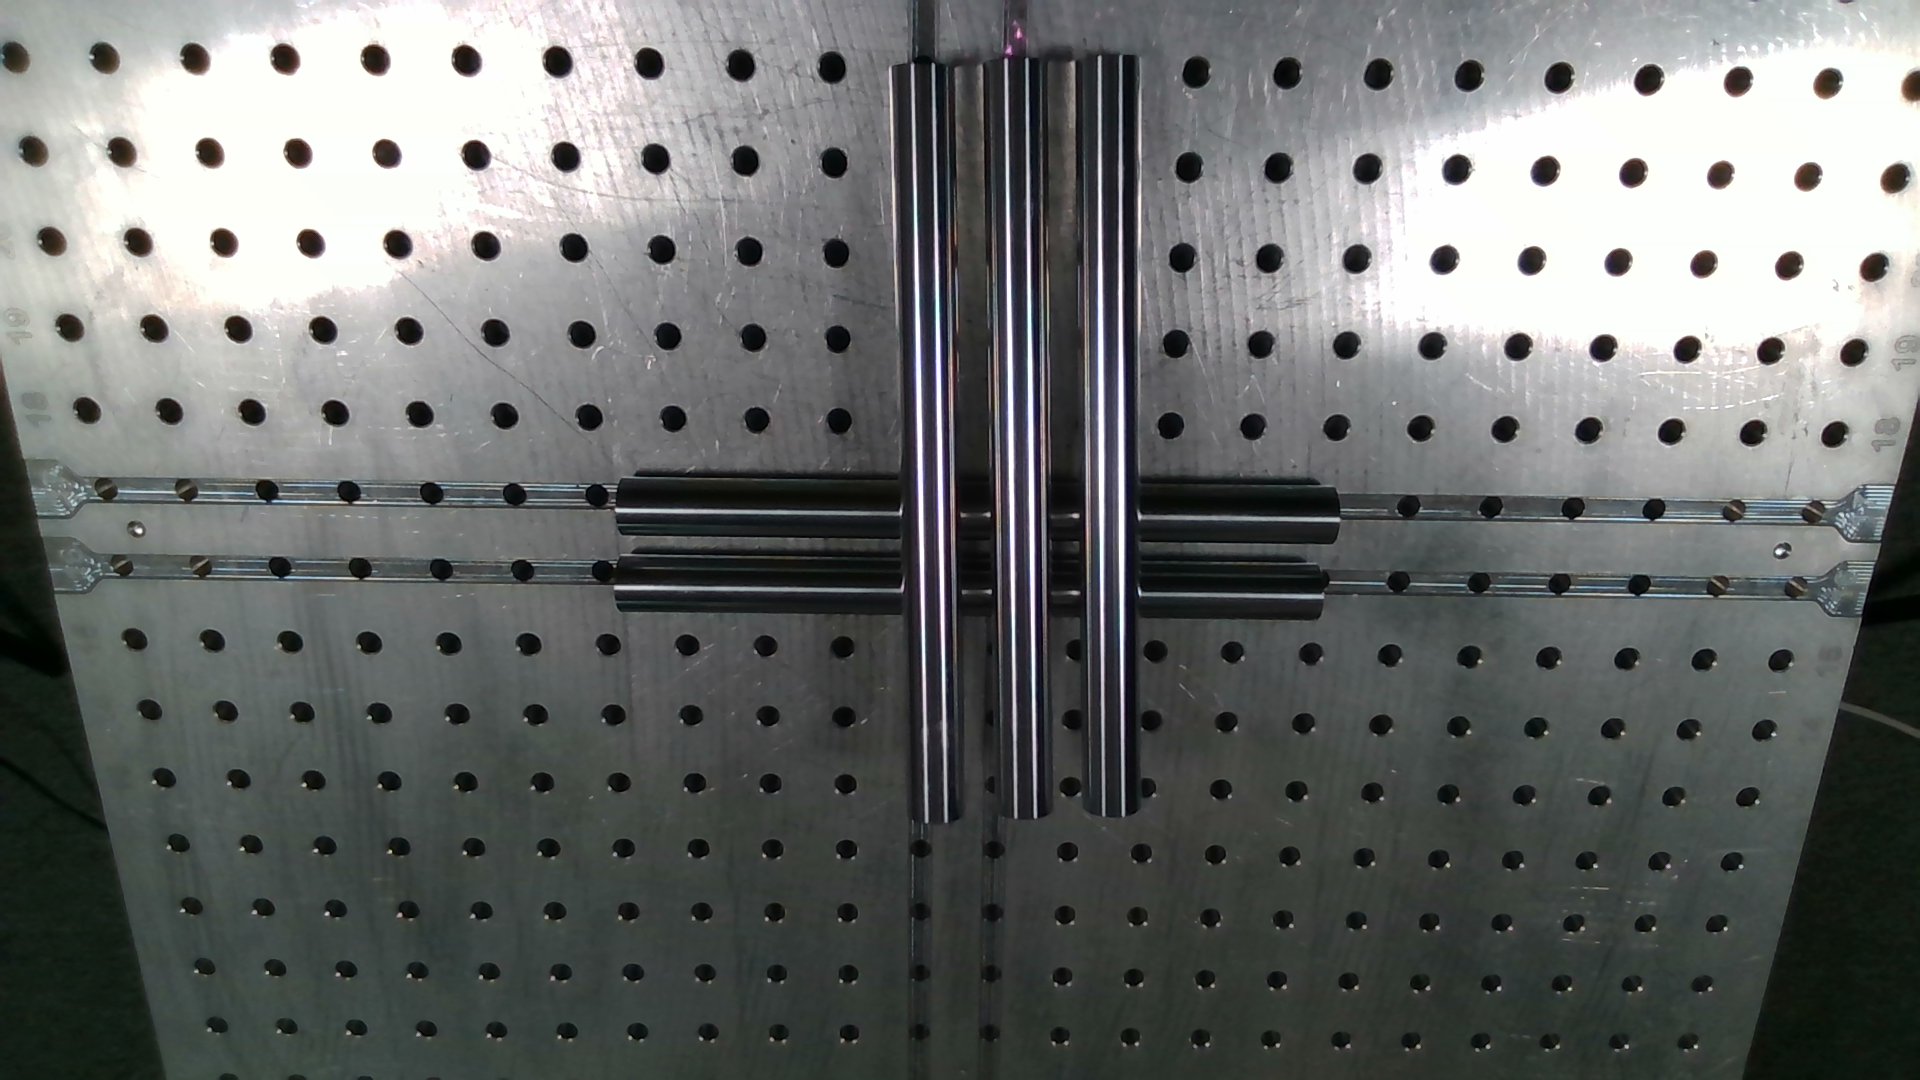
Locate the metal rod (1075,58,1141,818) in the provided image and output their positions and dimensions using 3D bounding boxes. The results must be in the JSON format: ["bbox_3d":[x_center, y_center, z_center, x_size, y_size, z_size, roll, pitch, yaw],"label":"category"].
[{"bbox_3d":[0.060,-0.034,0.552,0.025,0.025,0.300,-2,102,1],"label":"metal rod"}]

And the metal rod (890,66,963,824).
[{"bbox_3d":[-0.013,-0.031,0.553,0.025,0.025,0.300,-1,102,0],"label":"metal rod"}]

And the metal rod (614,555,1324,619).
[{"bbox_3d":[0.004,0.020,0.595,0.300,0.025,0.025,1,110,0],"label":"metal rod"}]

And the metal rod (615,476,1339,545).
[{"bbox_3d":[0.007,-0.012,0.583,0.300,0.025,0.025,1,110,0],"label":"metal rod"}]

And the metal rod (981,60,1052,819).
[{"bbox_3d":[0.024,-0.033,0.553,0.025,0.025,0.300,-1,102,1],"label":"metal rod"}]
